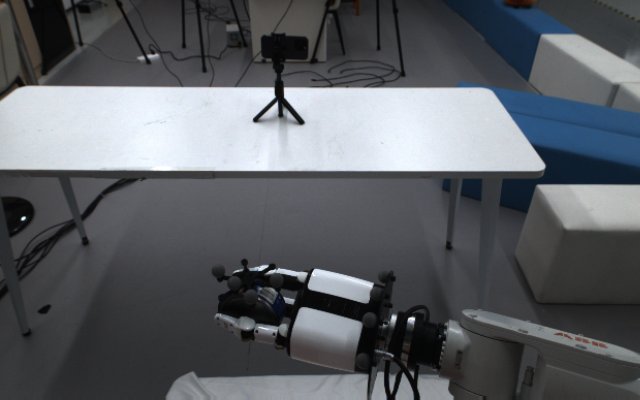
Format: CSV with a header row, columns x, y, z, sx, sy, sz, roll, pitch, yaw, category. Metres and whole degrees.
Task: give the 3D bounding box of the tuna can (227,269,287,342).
x,y,z,sx,sy,sz,roll,pitch,yaw,category
-0.087,0.143,0.640,0.085,0.085,0.034,11,34,12,tuna can
